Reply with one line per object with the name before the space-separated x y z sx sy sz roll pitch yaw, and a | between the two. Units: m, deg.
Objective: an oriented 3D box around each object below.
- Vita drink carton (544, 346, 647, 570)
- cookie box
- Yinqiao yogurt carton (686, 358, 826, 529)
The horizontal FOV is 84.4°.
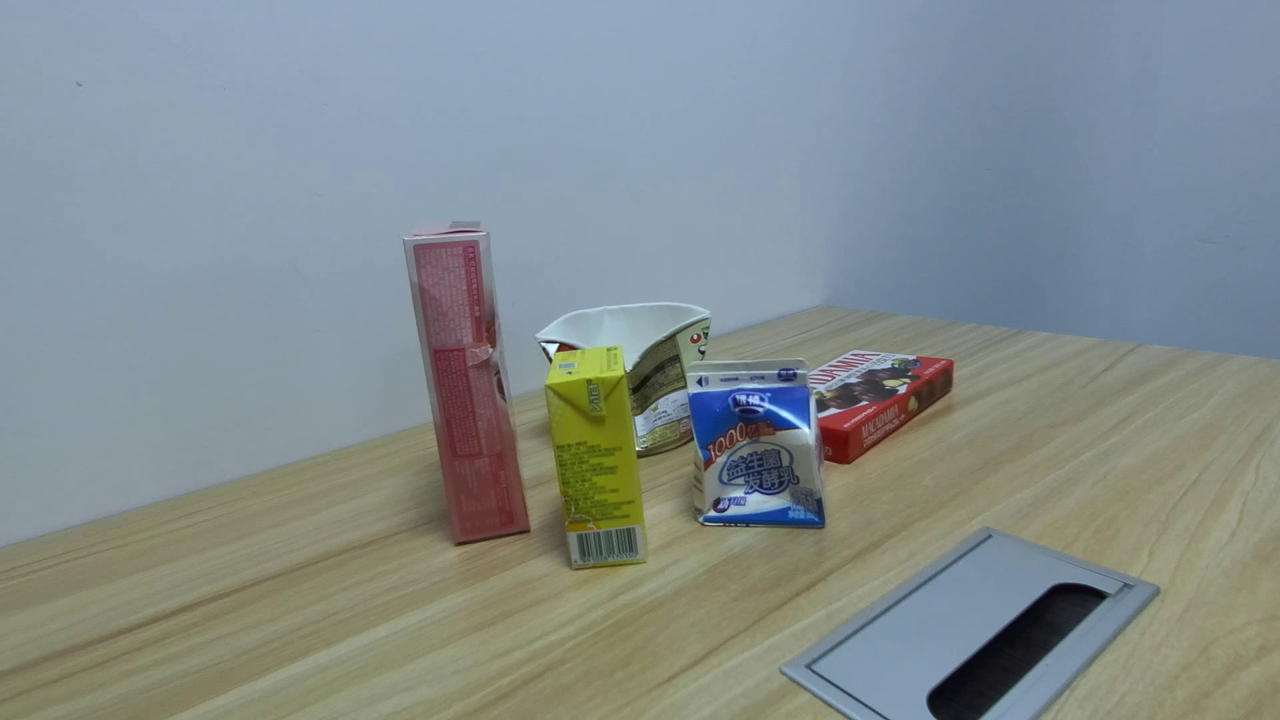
Vita drink carton | -0.024 0.052 0.399 0.043 0.109 0.066 -7 16 -1
cookie box | -0.106 0.010 0.442 0.049 0.187 0.105 -8 14 -12
Yinqiao yogurt carton | 0.069 0.043 0.421 0.077 0.094 0.071 -3 21 15
